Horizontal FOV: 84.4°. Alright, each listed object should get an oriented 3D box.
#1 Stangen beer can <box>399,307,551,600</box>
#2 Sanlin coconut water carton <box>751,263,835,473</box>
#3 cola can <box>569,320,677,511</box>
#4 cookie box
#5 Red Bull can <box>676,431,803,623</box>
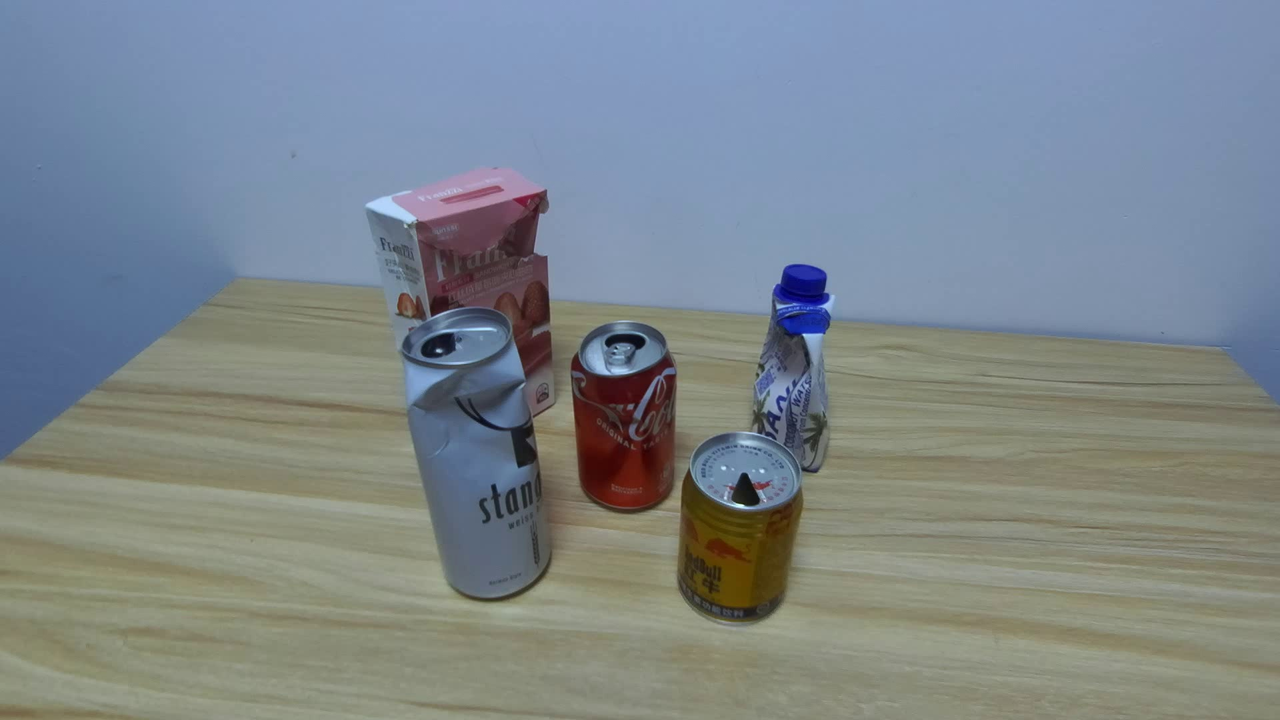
[{"bbox_3d":[-0.088,0.057,0.391,0.066,0.166,0.065,-13,35,-17],"label":"Stangen beer can"},{"bbox_3d":[0.101,0.009,0.481,0.056,0.145,0.068,5,41,19],"label":"Sanlin coconut water carton"},{"bbox_3d":[-0.007,0.038,0.461,0.066,0.117,0.072,-19,37,-28],"label":"cola can"},{"bbox_3d":[-0.116,-0.031,0.498,0.105,0.186,0.059,-28,45,-36],"label":"cookie box"},{"bbox_3d":[0.055,0.094,0.398,0.067,0.093,0.067,1,35,0],"label":"Red Bull can"}]
